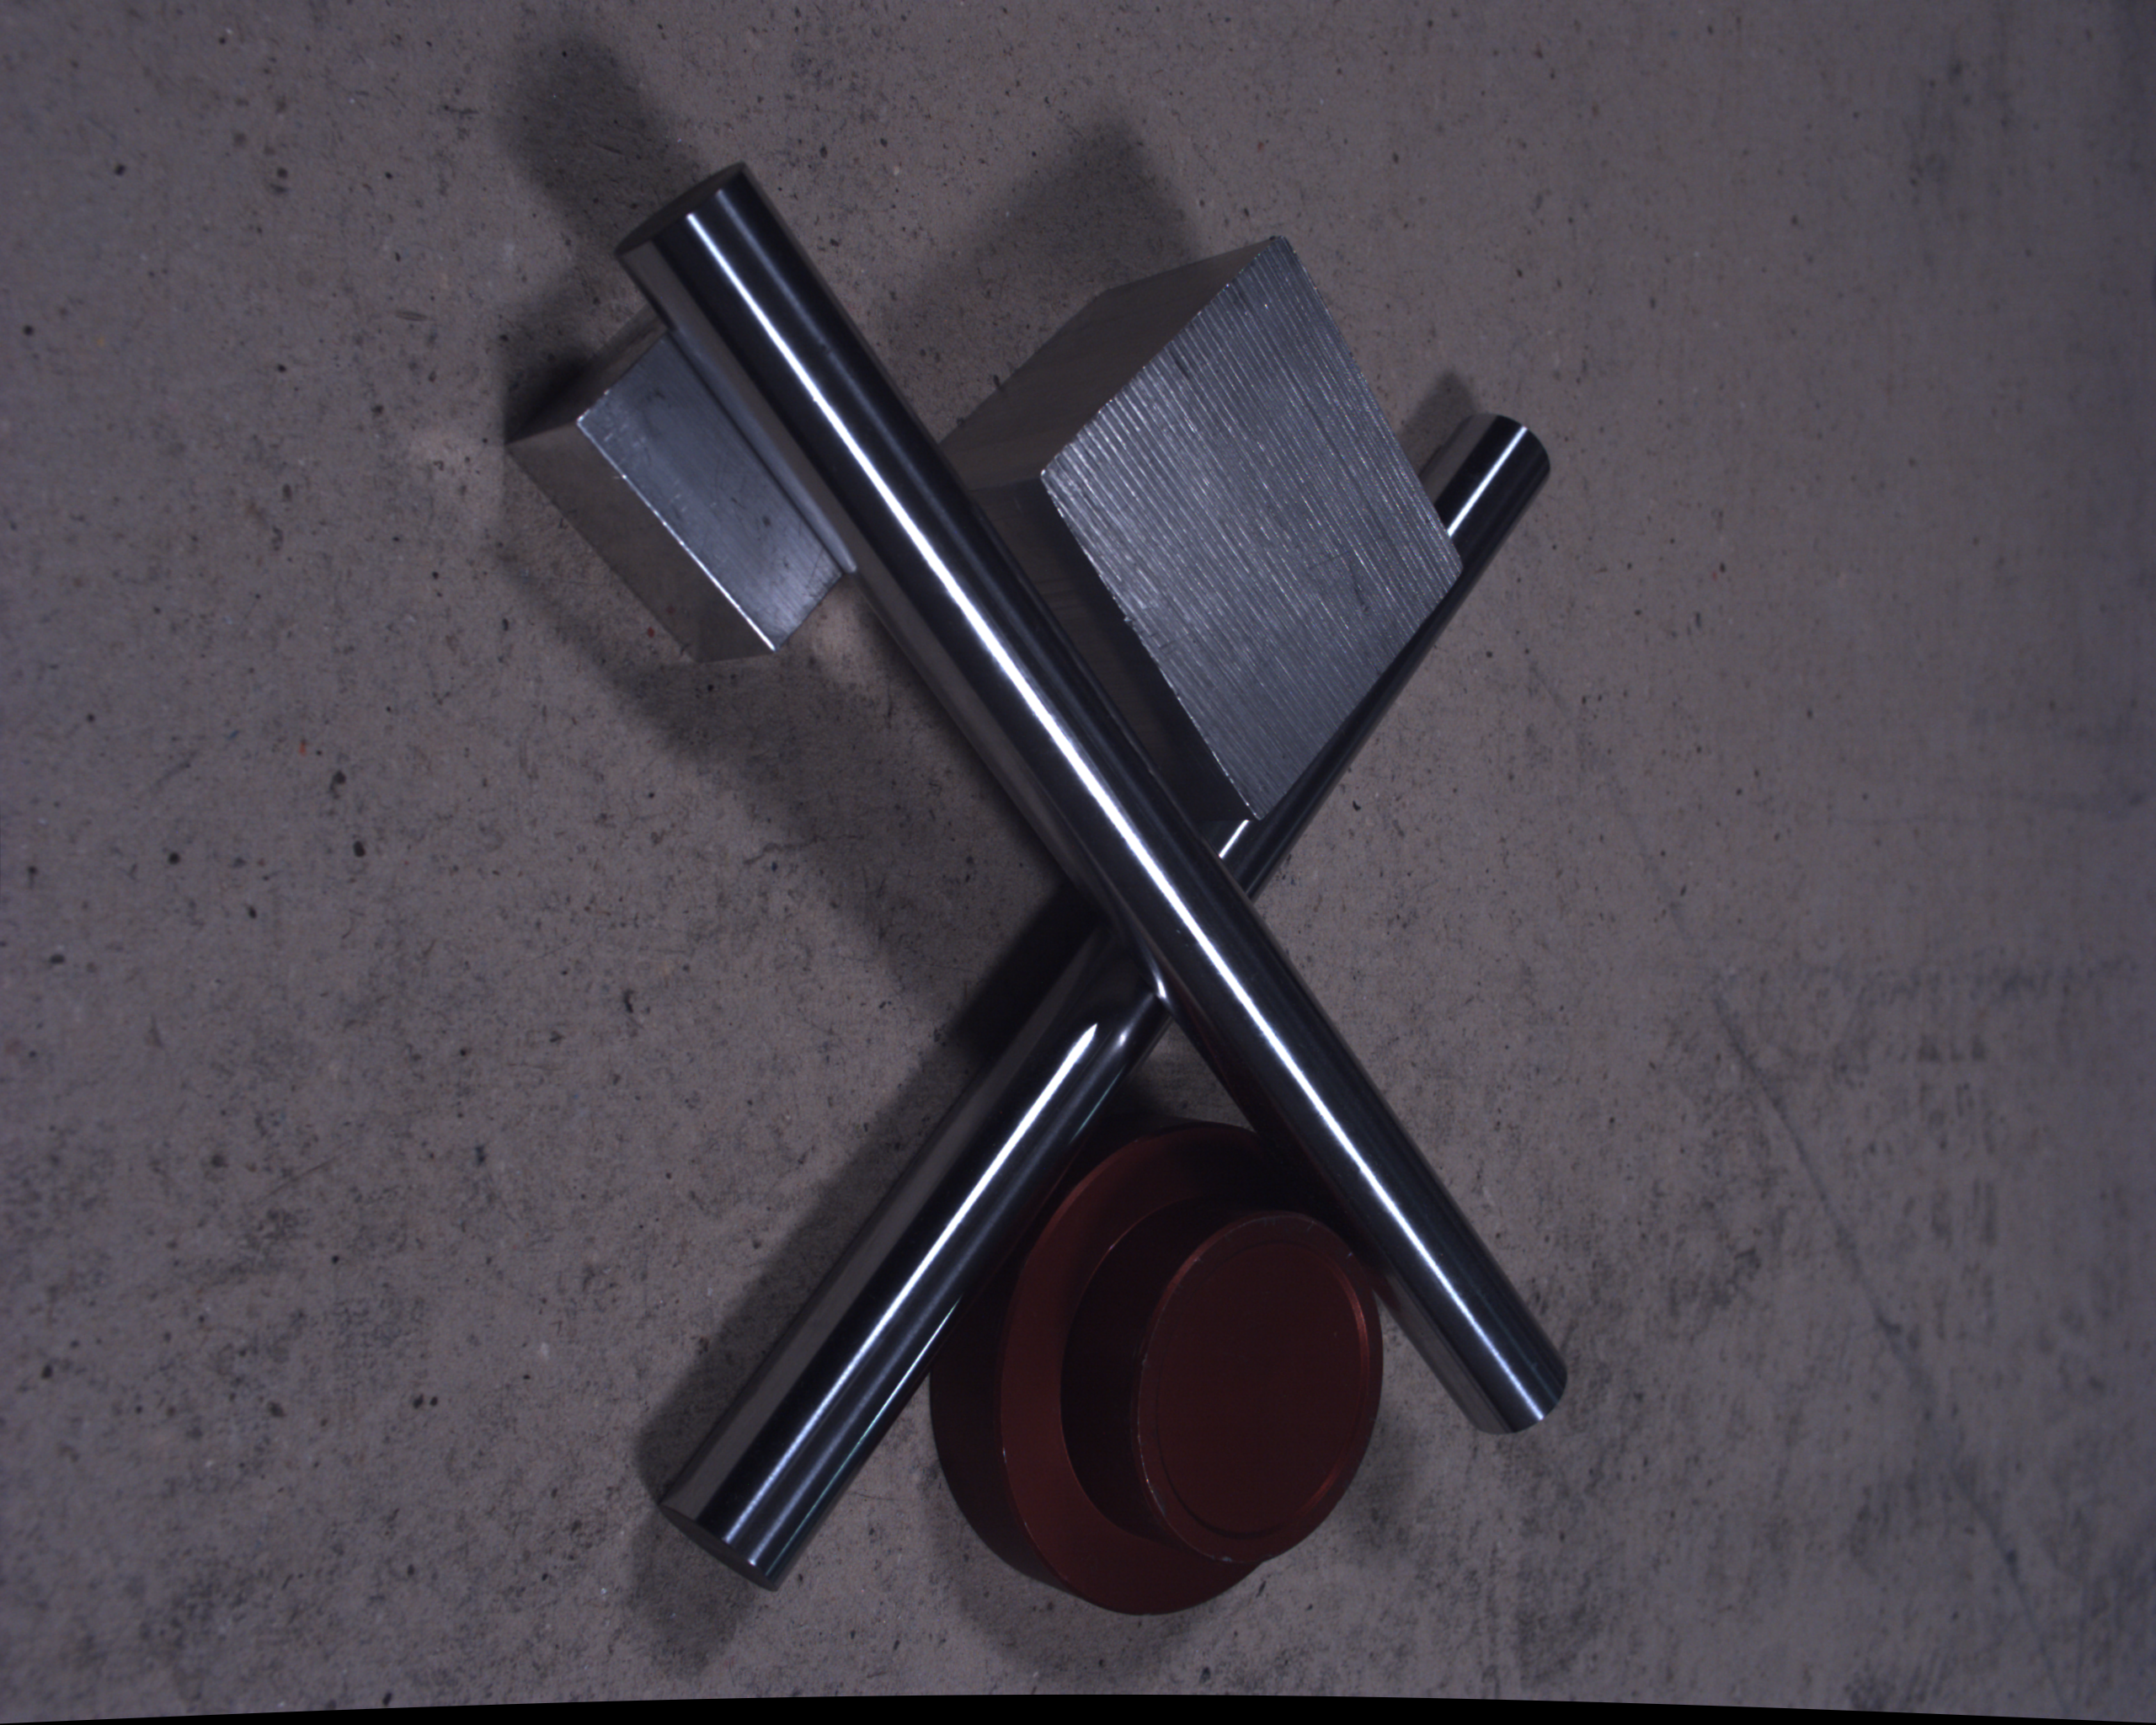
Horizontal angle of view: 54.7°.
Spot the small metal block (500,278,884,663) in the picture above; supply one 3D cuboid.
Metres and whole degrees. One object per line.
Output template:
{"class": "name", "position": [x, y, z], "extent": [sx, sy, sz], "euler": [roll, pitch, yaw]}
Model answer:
{"class": "small metal block", "position": [-0.060, -0.070, 0.358], "extent": [0.050, 0.025, 0.050], "euler": [51, 60, -28]}

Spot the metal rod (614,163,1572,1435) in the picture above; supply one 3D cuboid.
{"class": "metal rod", "position": [0.017, 0.007, 0.390], "extent": [0.025, 0.025, 0.300], "euler": [-51, 120, -28]}

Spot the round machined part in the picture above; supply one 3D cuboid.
{"class": "round machined part", "position": [0.024, 0.101, 0.417], "extent": [0.099, 0.042, 0.097], "euler": [0, 90, -40]}

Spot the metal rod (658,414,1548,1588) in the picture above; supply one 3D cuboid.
{"class": "metal rod", "position": [0.019, 0.011, 0.426], "extent": [0.025, 0.025, 0.301], "euler": [53, 59, -28]}

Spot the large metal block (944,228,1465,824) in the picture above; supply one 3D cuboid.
{"class": "large metal block", "position": [0.020, -0.064, 0.410], "extent": [0.080, 0.050, 0.080], "euler": [-49, 120, -29]}
